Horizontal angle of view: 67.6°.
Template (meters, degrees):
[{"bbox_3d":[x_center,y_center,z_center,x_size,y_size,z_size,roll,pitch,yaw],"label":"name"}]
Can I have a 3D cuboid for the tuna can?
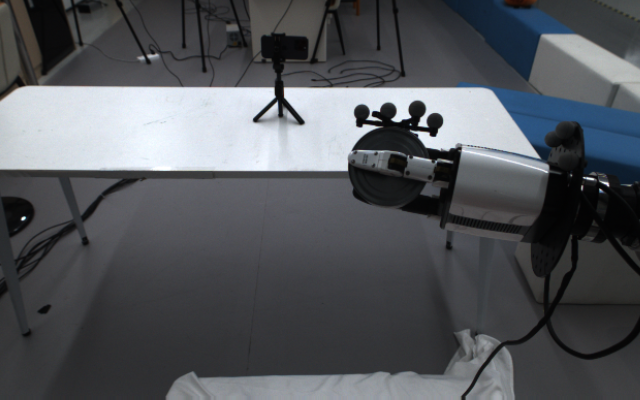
[{"bbox_3d":[0.077,-0.038,0.524,0.085,0.085,0.034,10,-5,12],"label":"tuna can"}]
